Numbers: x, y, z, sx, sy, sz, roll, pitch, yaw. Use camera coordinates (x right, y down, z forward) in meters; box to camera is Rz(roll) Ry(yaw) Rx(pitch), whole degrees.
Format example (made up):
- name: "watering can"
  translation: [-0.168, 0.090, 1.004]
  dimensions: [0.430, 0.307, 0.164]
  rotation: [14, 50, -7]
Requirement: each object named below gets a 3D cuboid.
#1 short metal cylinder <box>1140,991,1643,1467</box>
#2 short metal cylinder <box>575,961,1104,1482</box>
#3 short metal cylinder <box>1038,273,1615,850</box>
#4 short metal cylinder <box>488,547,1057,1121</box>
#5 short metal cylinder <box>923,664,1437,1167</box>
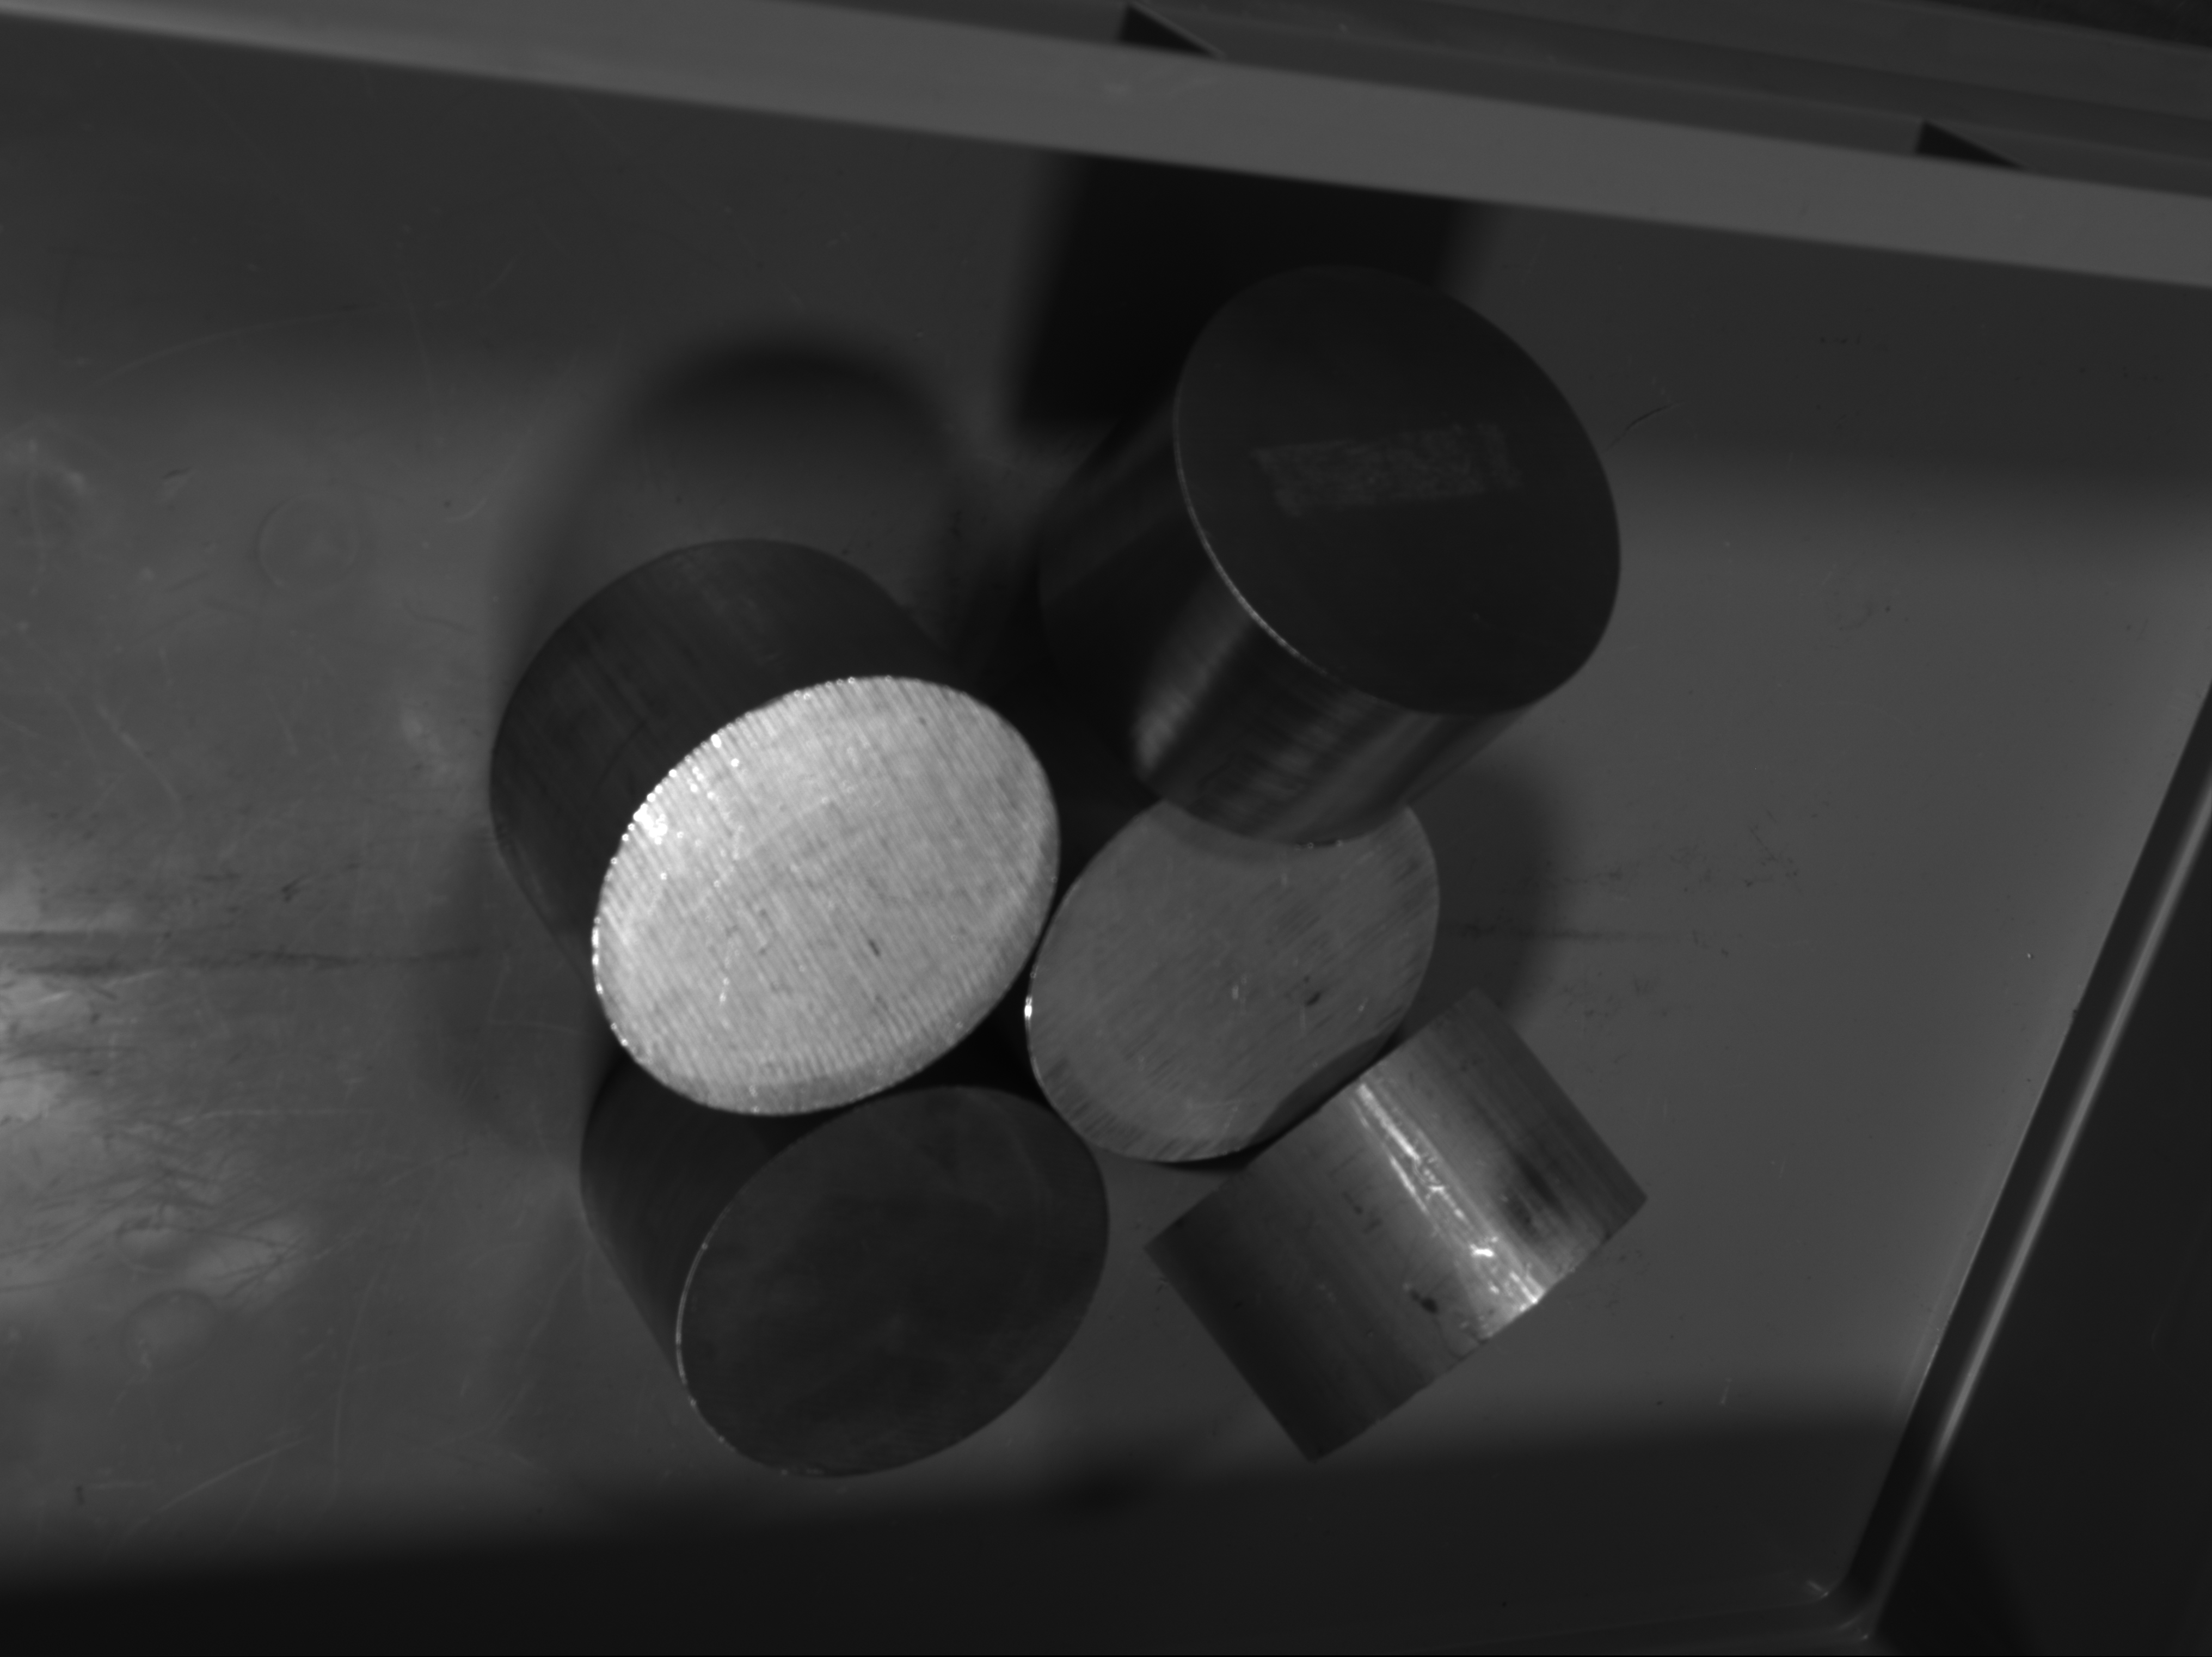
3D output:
- name: "short metal cylinder"
  translation: [0.053, 0.074, 0.683]
  dimensions: [0.080, 0.050, 0.080]
  rotation: [-38, 174, -4]
- name: "short metal cylinder"
  translation: [-0.047, 0.068, 0.647]
  dimensions: [0.080, 0.050, 0.080]
  rotation: [-15, 125, -22]
- name: "short metal cylinder"
  translation: [0.036, -0.043, 0.598]
  dimensions: [0.080, 0.080, 0.050]
  rotation: [-3, 158, -29]
- name: "short metal cylinder"
  translation: [-0.055, 0.001, 0.601]
  dimensions: [0.080, 0.050, 0.080]
  rotation: [-15, 125, -22]
- name: "short metal cylinder"
  translation: [0.011, 0.012, 0.646]
  dimensions: [0.080, 0.050, 0.080]
  rotation: [-15, 125, -22]
